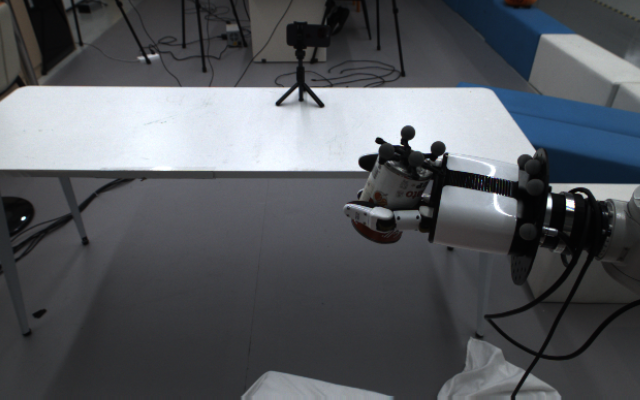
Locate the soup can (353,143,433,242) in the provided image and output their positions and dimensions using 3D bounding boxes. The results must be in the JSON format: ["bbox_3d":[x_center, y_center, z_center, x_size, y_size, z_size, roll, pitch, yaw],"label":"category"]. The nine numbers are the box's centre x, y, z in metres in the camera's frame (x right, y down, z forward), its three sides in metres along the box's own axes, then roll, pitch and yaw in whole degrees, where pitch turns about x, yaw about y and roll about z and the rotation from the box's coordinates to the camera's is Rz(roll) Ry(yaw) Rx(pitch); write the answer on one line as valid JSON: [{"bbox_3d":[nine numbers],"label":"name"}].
[{"bbox_3d":[0.087,-0.006,0.583,0.067,0.101,0.067,14,35,-10],"label":"soup can"}]
